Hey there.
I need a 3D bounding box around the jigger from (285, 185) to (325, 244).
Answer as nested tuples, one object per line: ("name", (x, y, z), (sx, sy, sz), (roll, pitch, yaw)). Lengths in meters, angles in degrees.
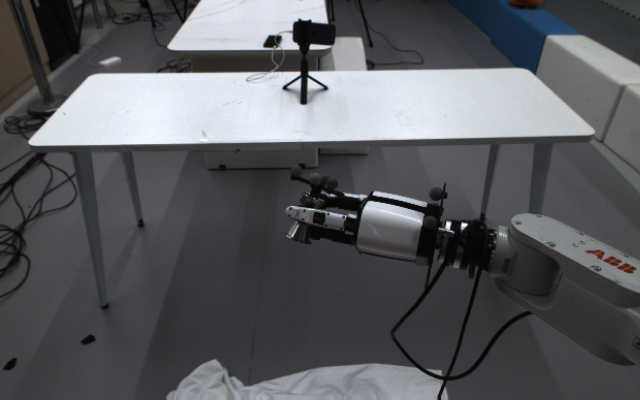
("jigger", (-0.022, 0.025, 0.714), (0.043, 0.071, 0.043), (22, 6, -2))
